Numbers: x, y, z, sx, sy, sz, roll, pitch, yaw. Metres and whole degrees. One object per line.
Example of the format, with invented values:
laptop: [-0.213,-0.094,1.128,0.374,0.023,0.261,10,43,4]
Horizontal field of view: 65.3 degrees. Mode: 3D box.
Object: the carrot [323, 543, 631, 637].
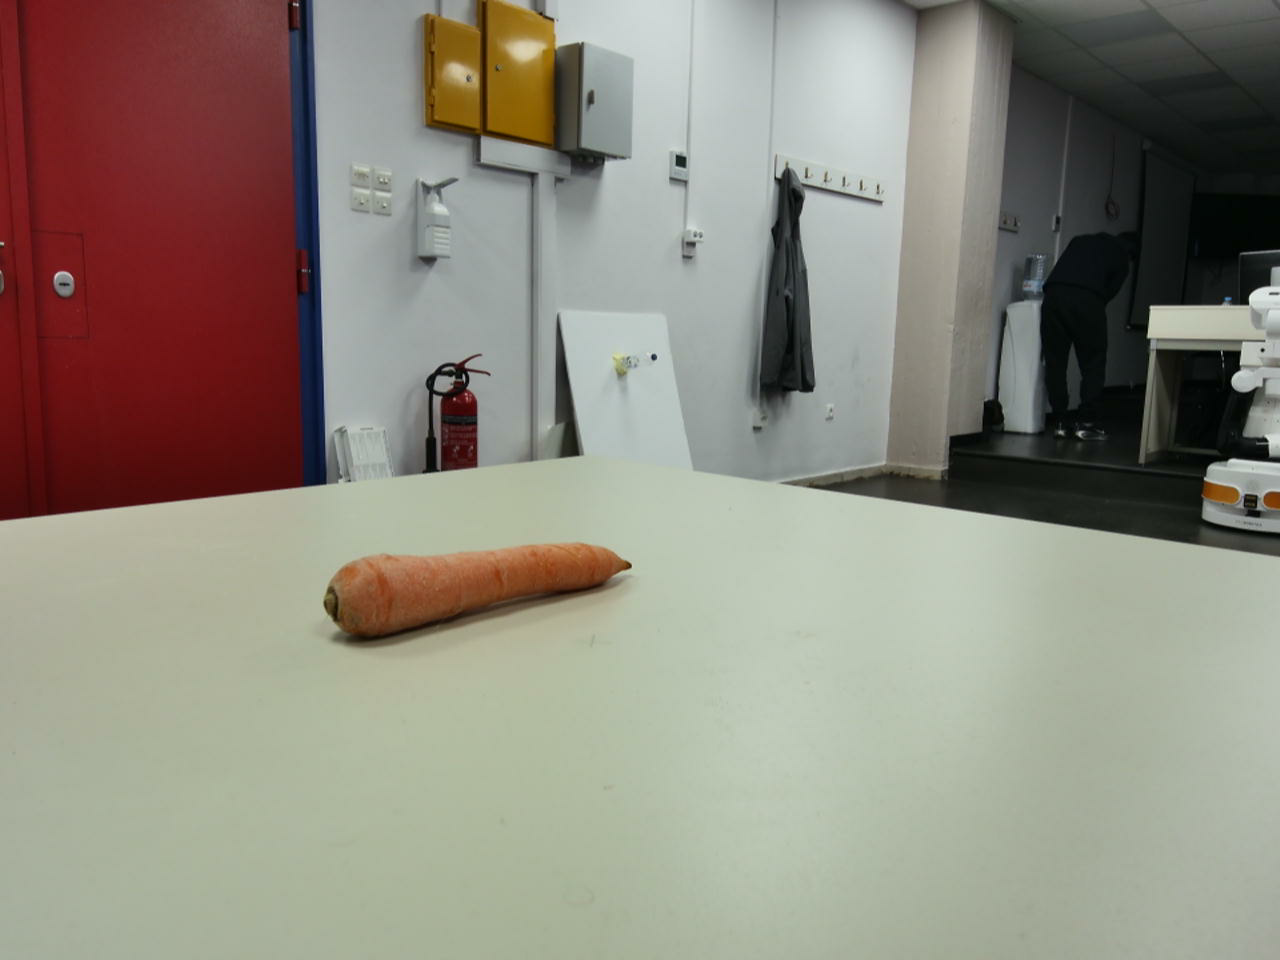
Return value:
carrot: [-0.076,0.049,0.530,0.039,0.041,0.196,6,10,42]
